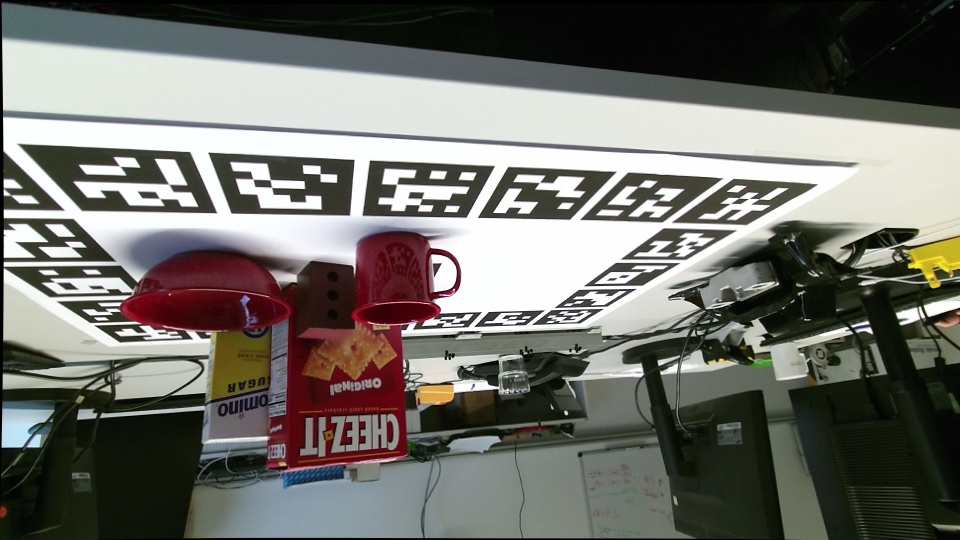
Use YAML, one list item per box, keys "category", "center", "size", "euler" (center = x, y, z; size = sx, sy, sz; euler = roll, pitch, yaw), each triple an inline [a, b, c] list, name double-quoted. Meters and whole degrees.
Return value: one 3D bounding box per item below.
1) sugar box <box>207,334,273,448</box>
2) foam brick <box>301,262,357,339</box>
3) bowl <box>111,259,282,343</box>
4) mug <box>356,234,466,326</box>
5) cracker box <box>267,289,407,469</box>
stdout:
- category: "sugar box"
  center: [-0.291, 0.131, 0.683]
  size: [0.093, 0.175, 0.045]
  euler: [8, 155, -36]
- category: "foam brick"
  center: [-0.177, 0.037, 0.626]
  size: [0.053, 0.077, 0.051]
  euler: [5, 157, -31]
- category: "bowl"
  center: [-0.287, 0.030, 0.563]
  size: [0.162, 0.055, 0.162]
  euler: [-6, 158, -2]
- category: "mug"
  center: [-0.073, 0.010, 0.561]
  size: [0.117, 0.081, 0.093]
  euler: [-6, 168, -8]
- category: "cracker box"
  center: [-0.179, 0.140, 0.696]
  size: [0.165, 0.212, 0.072]
  euler: [14, 153, -42]
